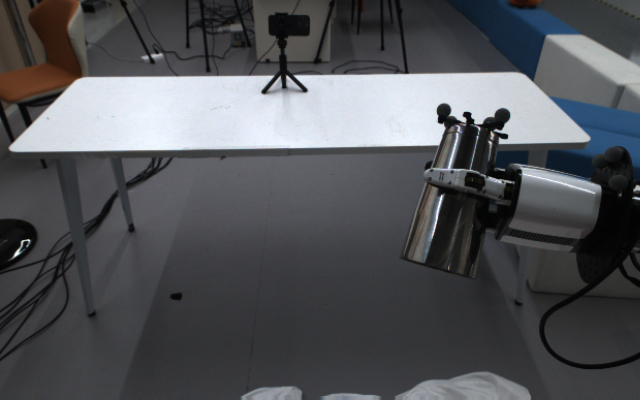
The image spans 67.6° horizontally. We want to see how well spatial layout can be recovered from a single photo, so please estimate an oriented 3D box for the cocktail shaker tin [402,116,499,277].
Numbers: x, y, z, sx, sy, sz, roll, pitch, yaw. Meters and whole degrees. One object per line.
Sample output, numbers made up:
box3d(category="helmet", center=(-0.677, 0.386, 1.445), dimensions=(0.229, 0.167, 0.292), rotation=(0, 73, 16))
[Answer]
box3d(category="cocktail shaker tin", center=(0.162, -0.001, 0.582), dimensions=(0.093, 0.170, 0.093), rotation=(16, -6, 2))
